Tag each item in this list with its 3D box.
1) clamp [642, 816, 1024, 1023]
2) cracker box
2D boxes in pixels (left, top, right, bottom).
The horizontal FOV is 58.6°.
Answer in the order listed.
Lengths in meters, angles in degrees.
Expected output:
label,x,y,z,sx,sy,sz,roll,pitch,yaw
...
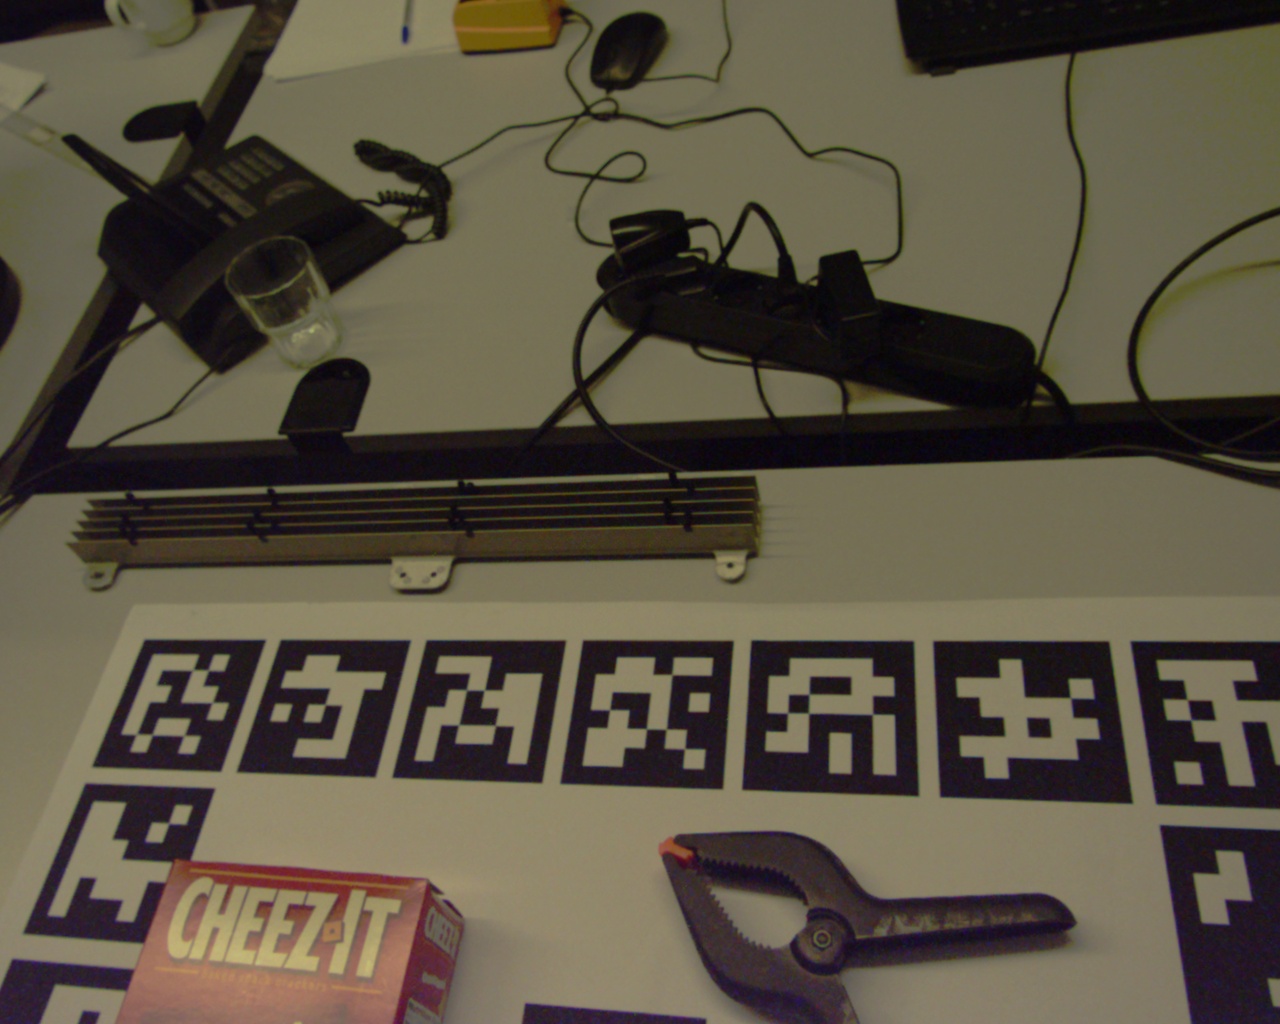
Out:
label,x,y,z,sx,sy,sz,roll,pitch,yaw
clamp,0.084,0.234,0.642,0.205,0.036,0.164,26,63,30
cracker box,-0.210,0.308,0.629,0.165,0.071,0.214,-1,53,15
